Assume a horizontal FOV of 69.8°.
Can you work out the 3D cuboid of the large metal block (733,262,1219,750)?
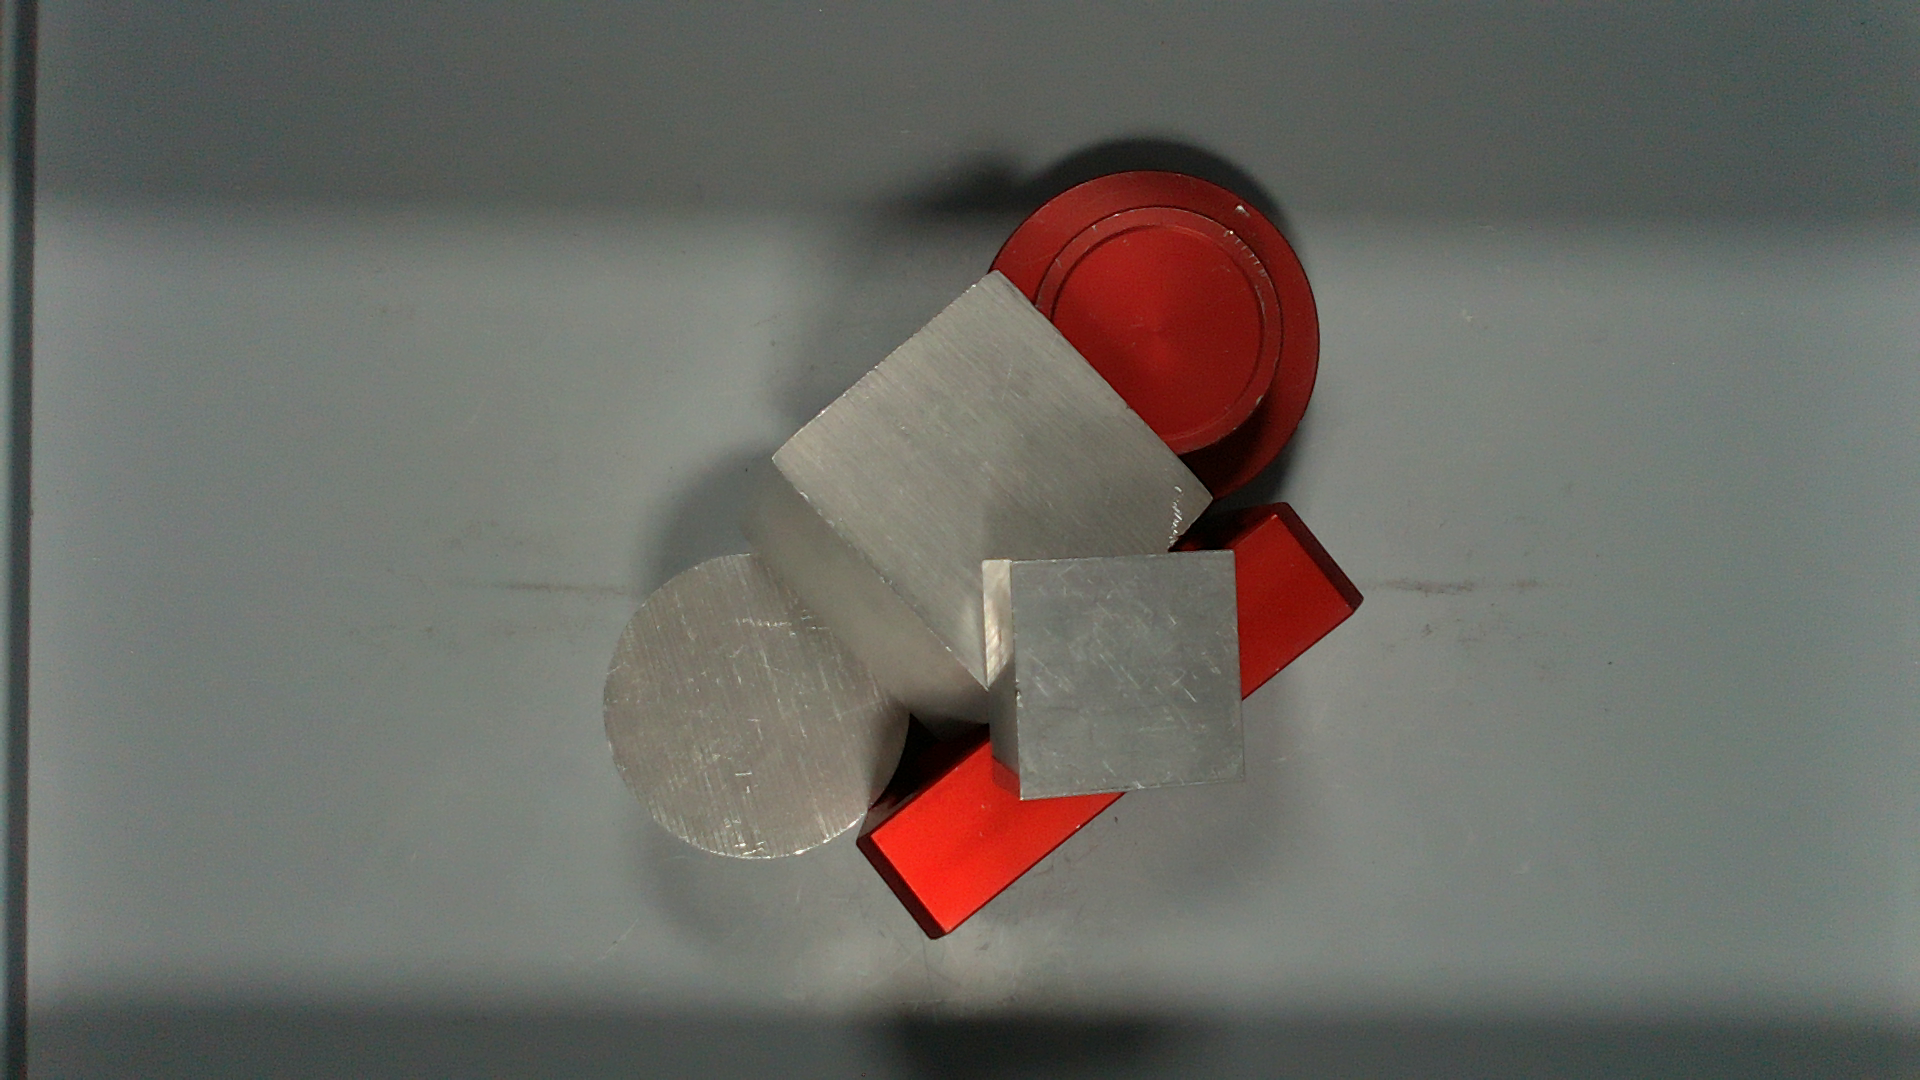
[{"bbox_3d":[0.003,-0.007,0.346,0.080,0.050,0.080,46,65,0],"label":"large metal block"}]

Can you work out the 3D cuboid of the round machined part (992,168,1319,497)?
[{"bbox_3d":[0.052,-0.055,0.385,0.098,0.042,0.098,0,90,0],"label":"round machined part"}]

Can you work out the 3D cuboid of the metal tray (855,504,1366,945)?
[{"bbox_3d":[0.036,0.043,0.361,0.130,0.090,0.030,-38,89,0],"label":"metal tray"}]

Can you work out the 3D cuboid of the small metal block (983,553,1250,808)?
[{"bbox_3d":[0.033,0.029,0.299,0.050,0.025,0.050,-3,90,-13],"label":"small metal block"}]

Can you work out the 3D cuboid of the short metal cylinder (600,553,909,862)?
[{"bbox_3d":[-0.053,0.043,0.381,0.080,0.050,0.080,0,90,0],"label":"short metal cylinder"}]
